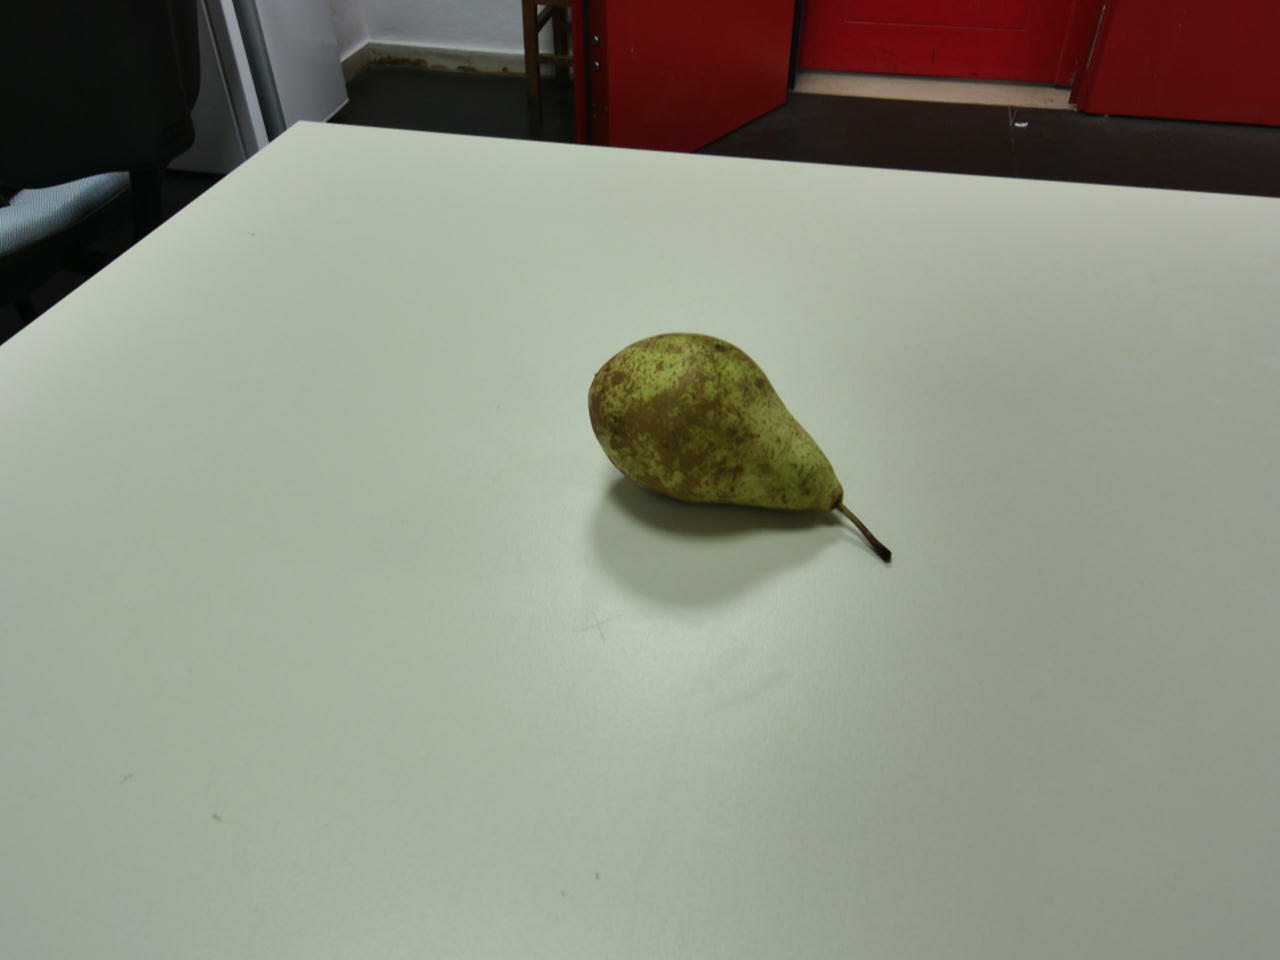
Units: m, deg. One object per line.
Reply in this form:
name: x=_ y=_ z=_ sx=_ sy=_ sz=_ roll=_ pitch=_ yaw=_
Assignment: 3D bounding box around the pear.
pear: x=0.043 y=-0.023 z=0.420 sx=0.128 sy=0.075 sz=0.071 roll=4 pitch=38 yaw=5
